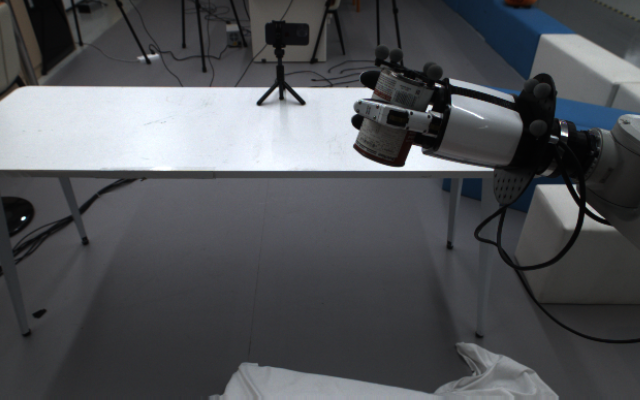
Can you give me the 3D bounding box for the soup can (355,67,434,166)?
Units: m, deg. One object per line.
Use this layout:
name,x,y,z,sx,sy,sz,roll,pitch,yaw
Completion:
soup can,0.090,-0.100,0.585,0.067,0.101,0.067,17,21,-7
